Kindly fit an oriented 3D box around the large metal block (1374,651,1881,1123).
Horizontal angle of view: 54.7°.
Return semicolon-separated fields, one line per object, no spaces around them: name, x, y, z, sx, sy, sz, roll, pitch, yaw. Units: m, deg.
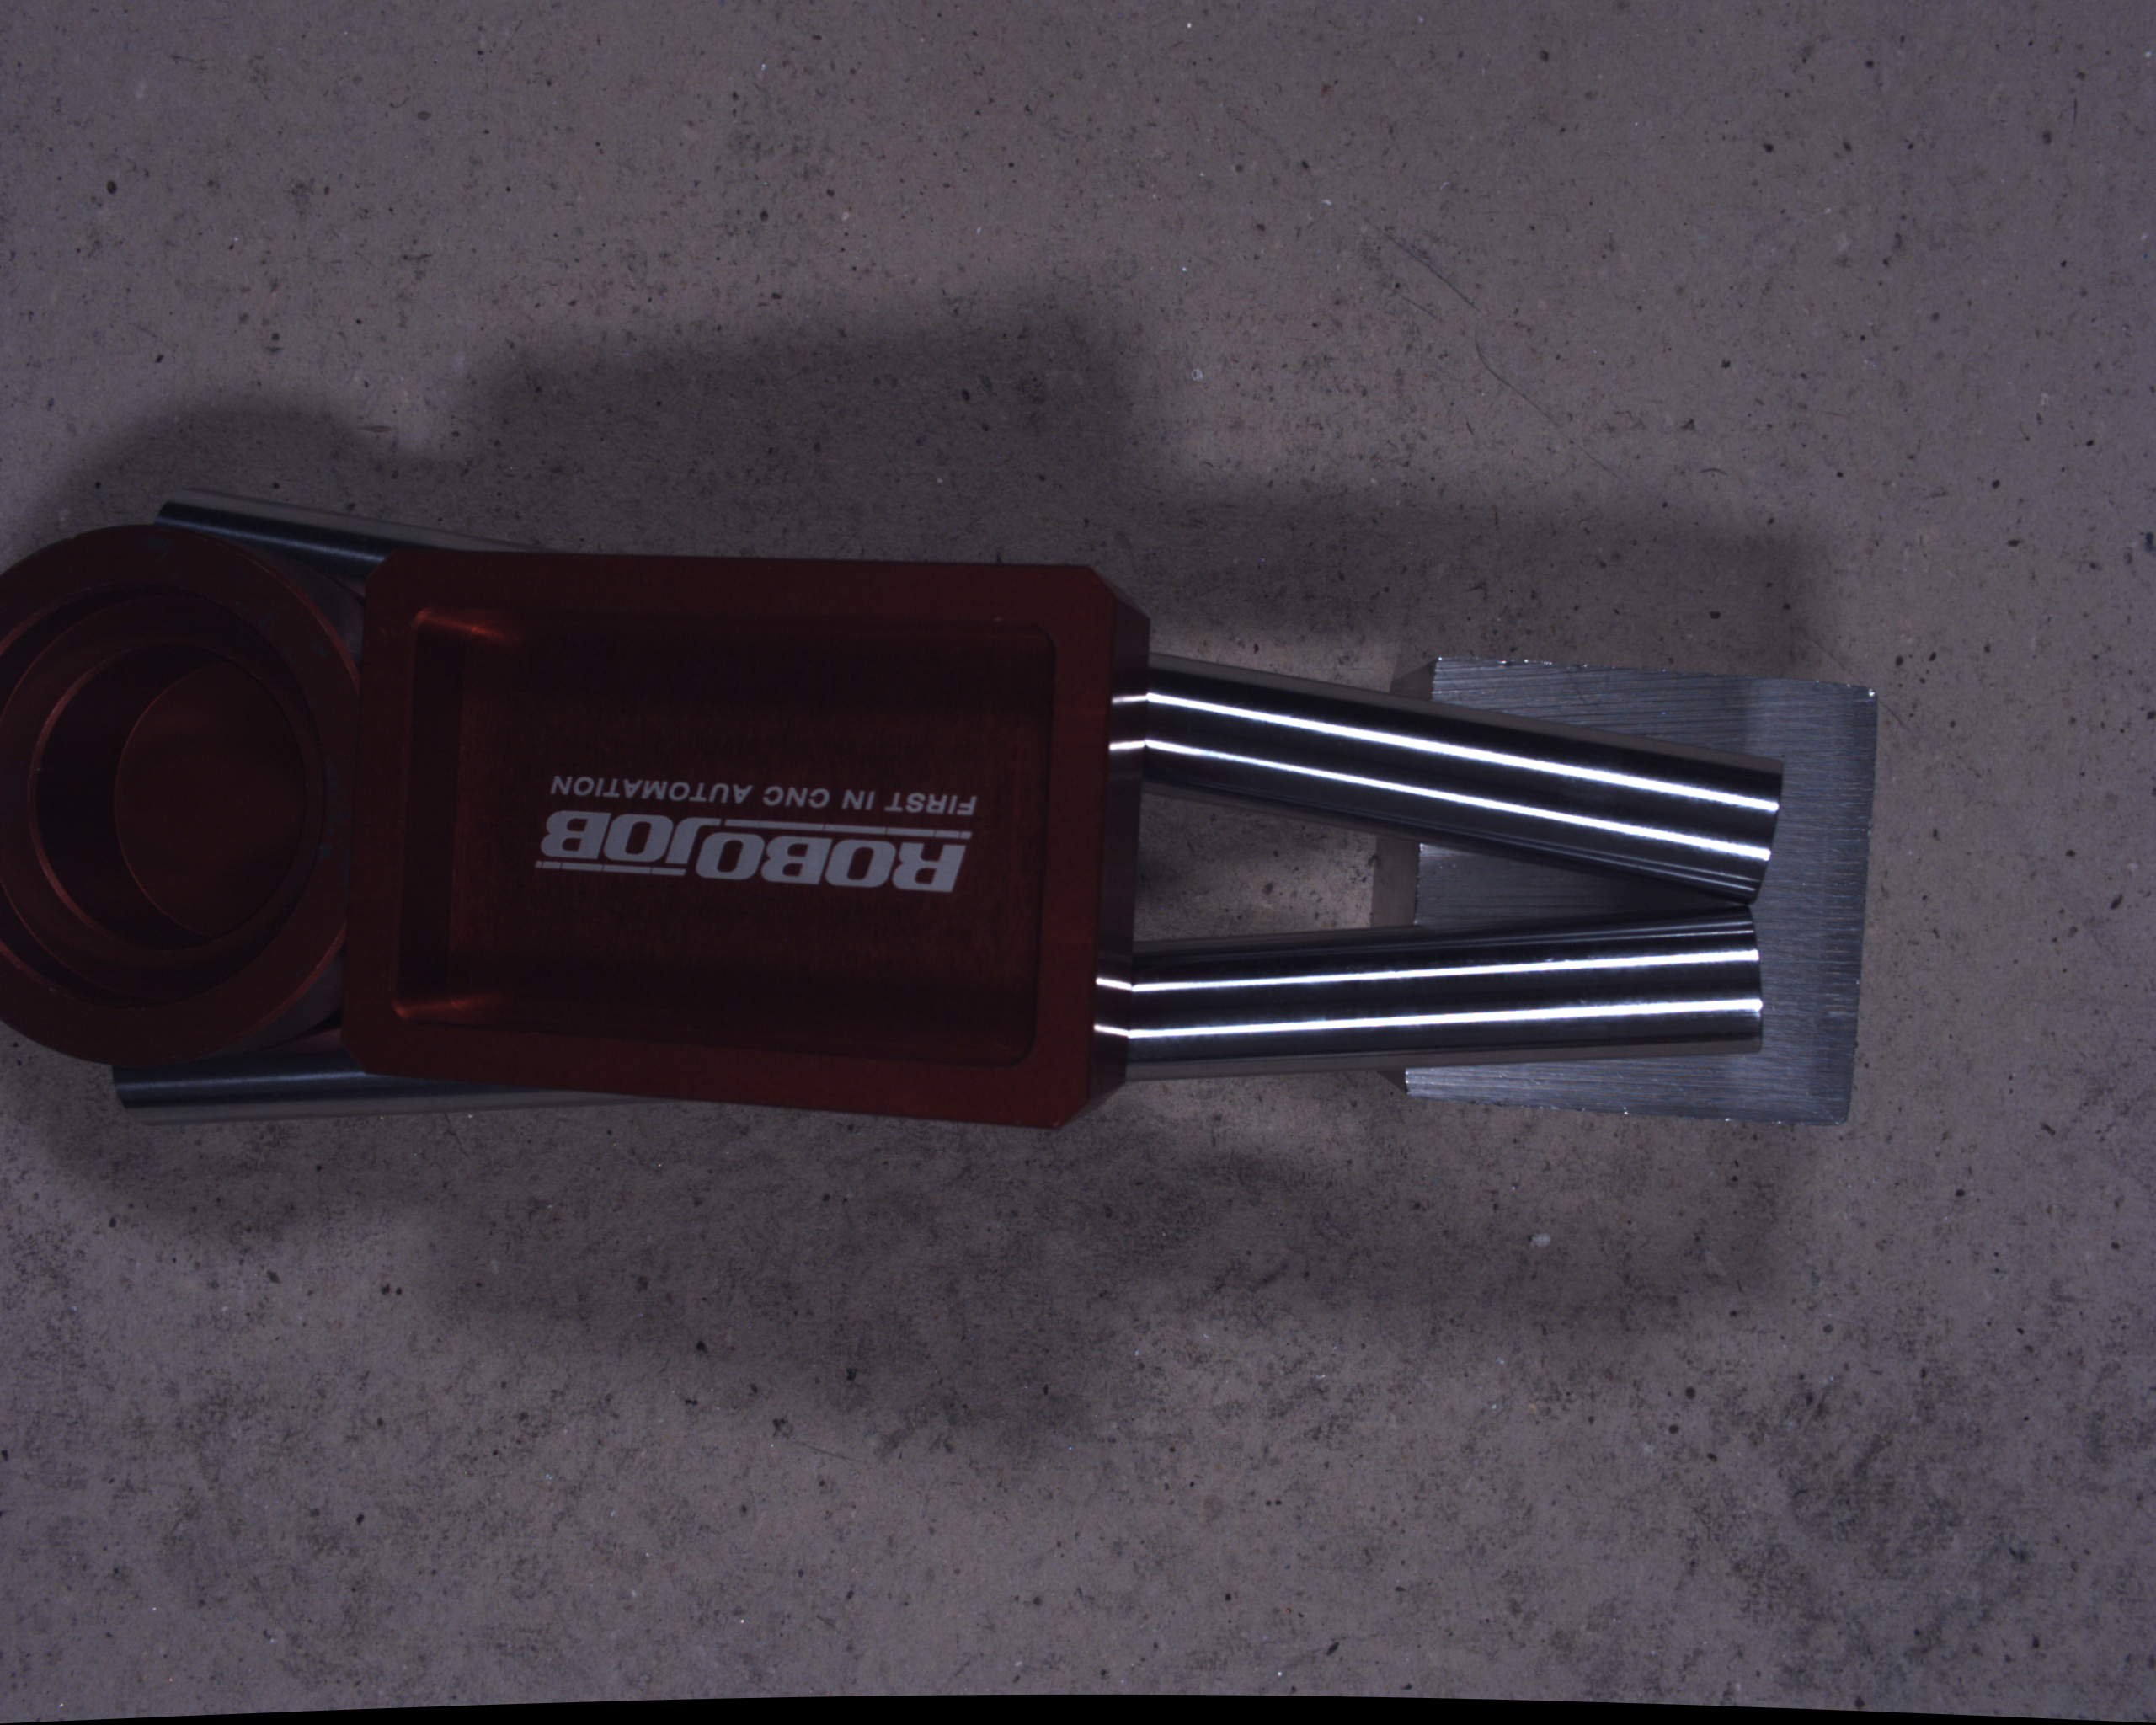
large metal block;0.101;0.004;0.398;0.081;0.050;0.079;4;90;-1

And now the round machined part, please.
round machined part;-0.166;-0.012;0.395;0.098;0.042;0.097;0;90;10

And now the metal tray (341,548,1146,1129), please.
metal tray;-0.057;-0.006;0.356;0.131;0.030;0.089;3;90;12

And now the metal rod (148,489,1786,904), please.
metal rod;-0.030;-0.033;0.378;0.301;0.025;0.025;11;90;12

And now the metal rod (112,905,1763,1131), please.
metal rod;-0.034;0.030;0.379;0.301;0.025;0.025;-4;90;12
